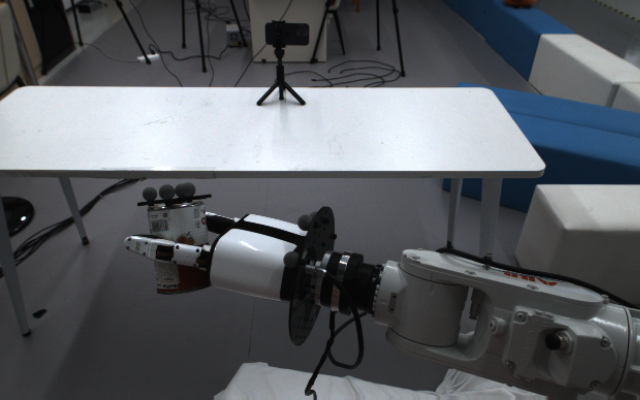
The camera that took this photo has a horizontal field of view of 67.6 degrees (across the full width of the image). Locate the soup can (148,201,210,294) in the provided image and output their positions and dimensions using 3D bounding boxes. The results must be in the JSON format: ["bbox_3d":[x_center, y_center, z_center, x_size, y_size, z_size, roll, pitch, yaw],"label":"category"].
[{"bbox_3d":[-0.166,0.056,0.581,0.067,0.101,0.067,-6,3,0],"label":"soup can"}]
